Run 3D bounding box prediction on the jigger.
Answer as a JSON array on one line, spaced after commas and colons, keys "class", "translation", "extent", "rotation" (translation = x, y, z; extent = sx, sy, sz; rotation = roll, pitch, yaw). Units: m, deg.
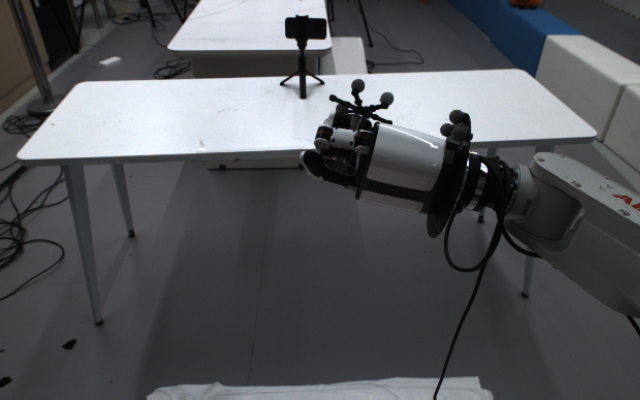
[{"class": "jigger", "translation": [0.037, -0.073, 0.610], "extent": [0.043, 0.043, 0.071], "rotation": [15, 70, 18]}]
